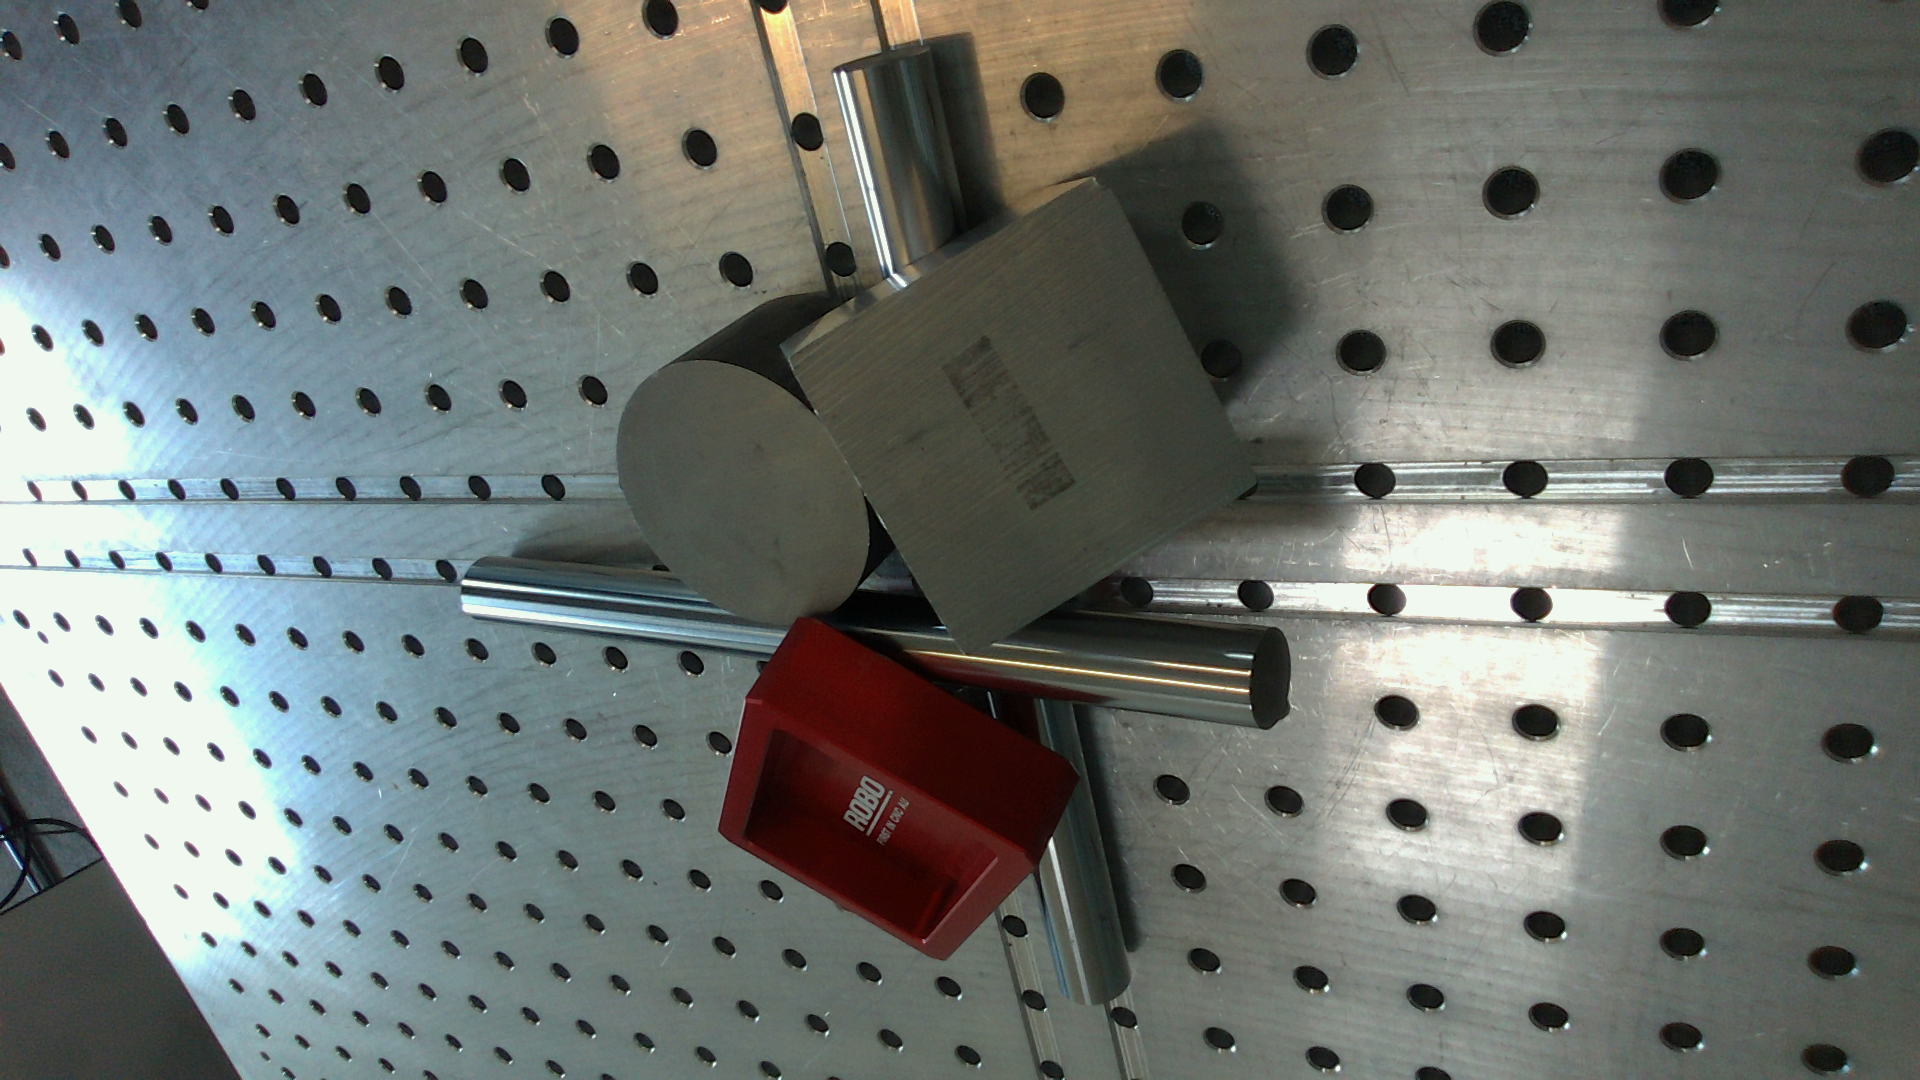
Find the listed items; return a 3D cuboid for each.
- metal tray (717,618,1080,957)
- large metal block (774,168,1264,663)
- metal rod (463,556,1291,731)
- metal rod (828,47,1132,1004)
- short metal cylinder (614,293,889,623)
[{"bbox_3d":[-0.025,0.082,0.423,0.090,0.030,0.130,29,149,2],"label":"metal tray"},{"bbox_3d":[0.012,-0.031,0.328,0.080,0.050,0.080,-31,105,-3],"label":"large metal block"},{"bbox_3d":[-0.048,0.025,0.416,0.299,0.025,0.025,4,121,35],"label":"metal rod"},{"bbox_3d":[0.013,0.015,0.398,0.025,0.025,0.300,1,119,28],"label":"metal rod"},{"bbox_3d":[-0.050,-0.024,0.391,0.080,0.050,0.080,13,124,21],"label":"short metal cylinder"}]
